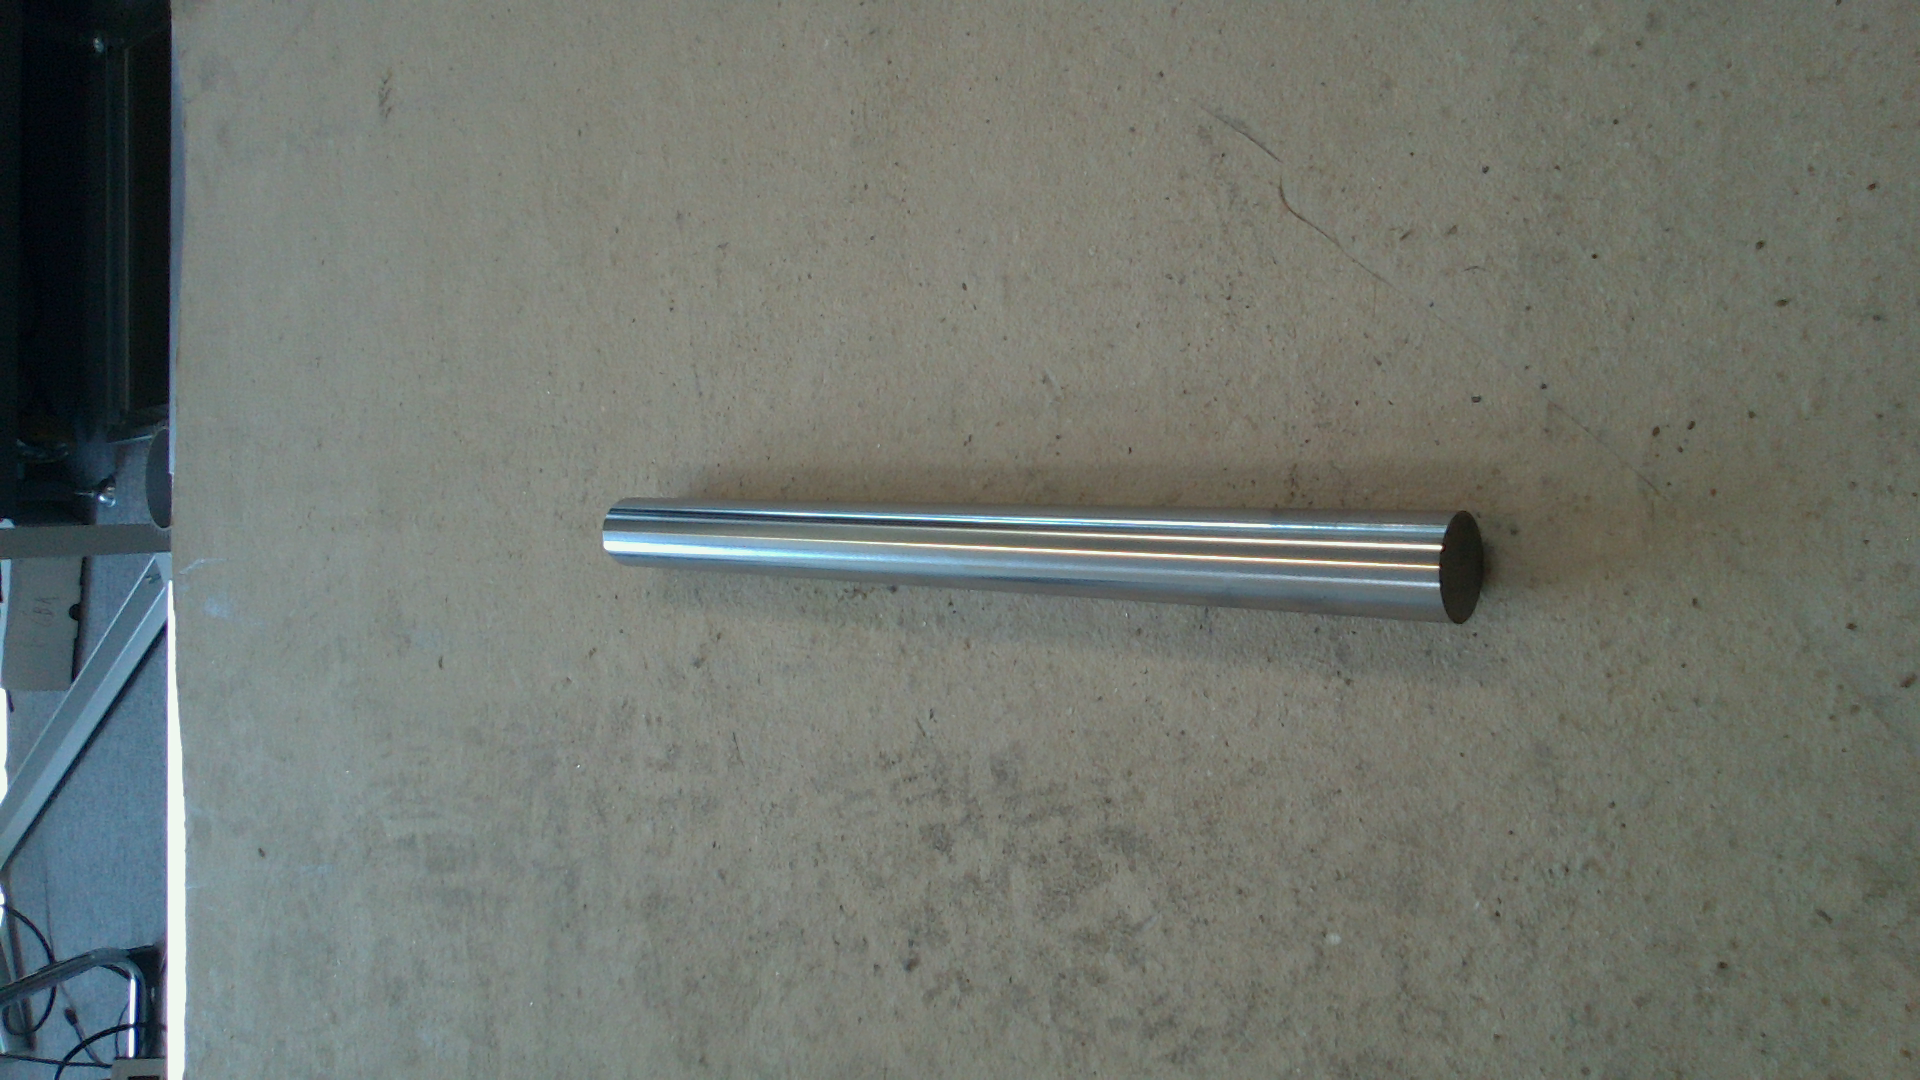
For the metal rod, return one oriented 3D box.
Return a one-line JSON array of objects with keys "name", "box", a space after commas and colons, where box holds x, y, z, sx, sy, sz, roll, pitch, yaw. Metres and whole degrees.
[{"name": "metal rod", "box": [-0.005, 0.001, 0.399, 0.299, 0.025, 0.025, 2, 92, 40]}]
